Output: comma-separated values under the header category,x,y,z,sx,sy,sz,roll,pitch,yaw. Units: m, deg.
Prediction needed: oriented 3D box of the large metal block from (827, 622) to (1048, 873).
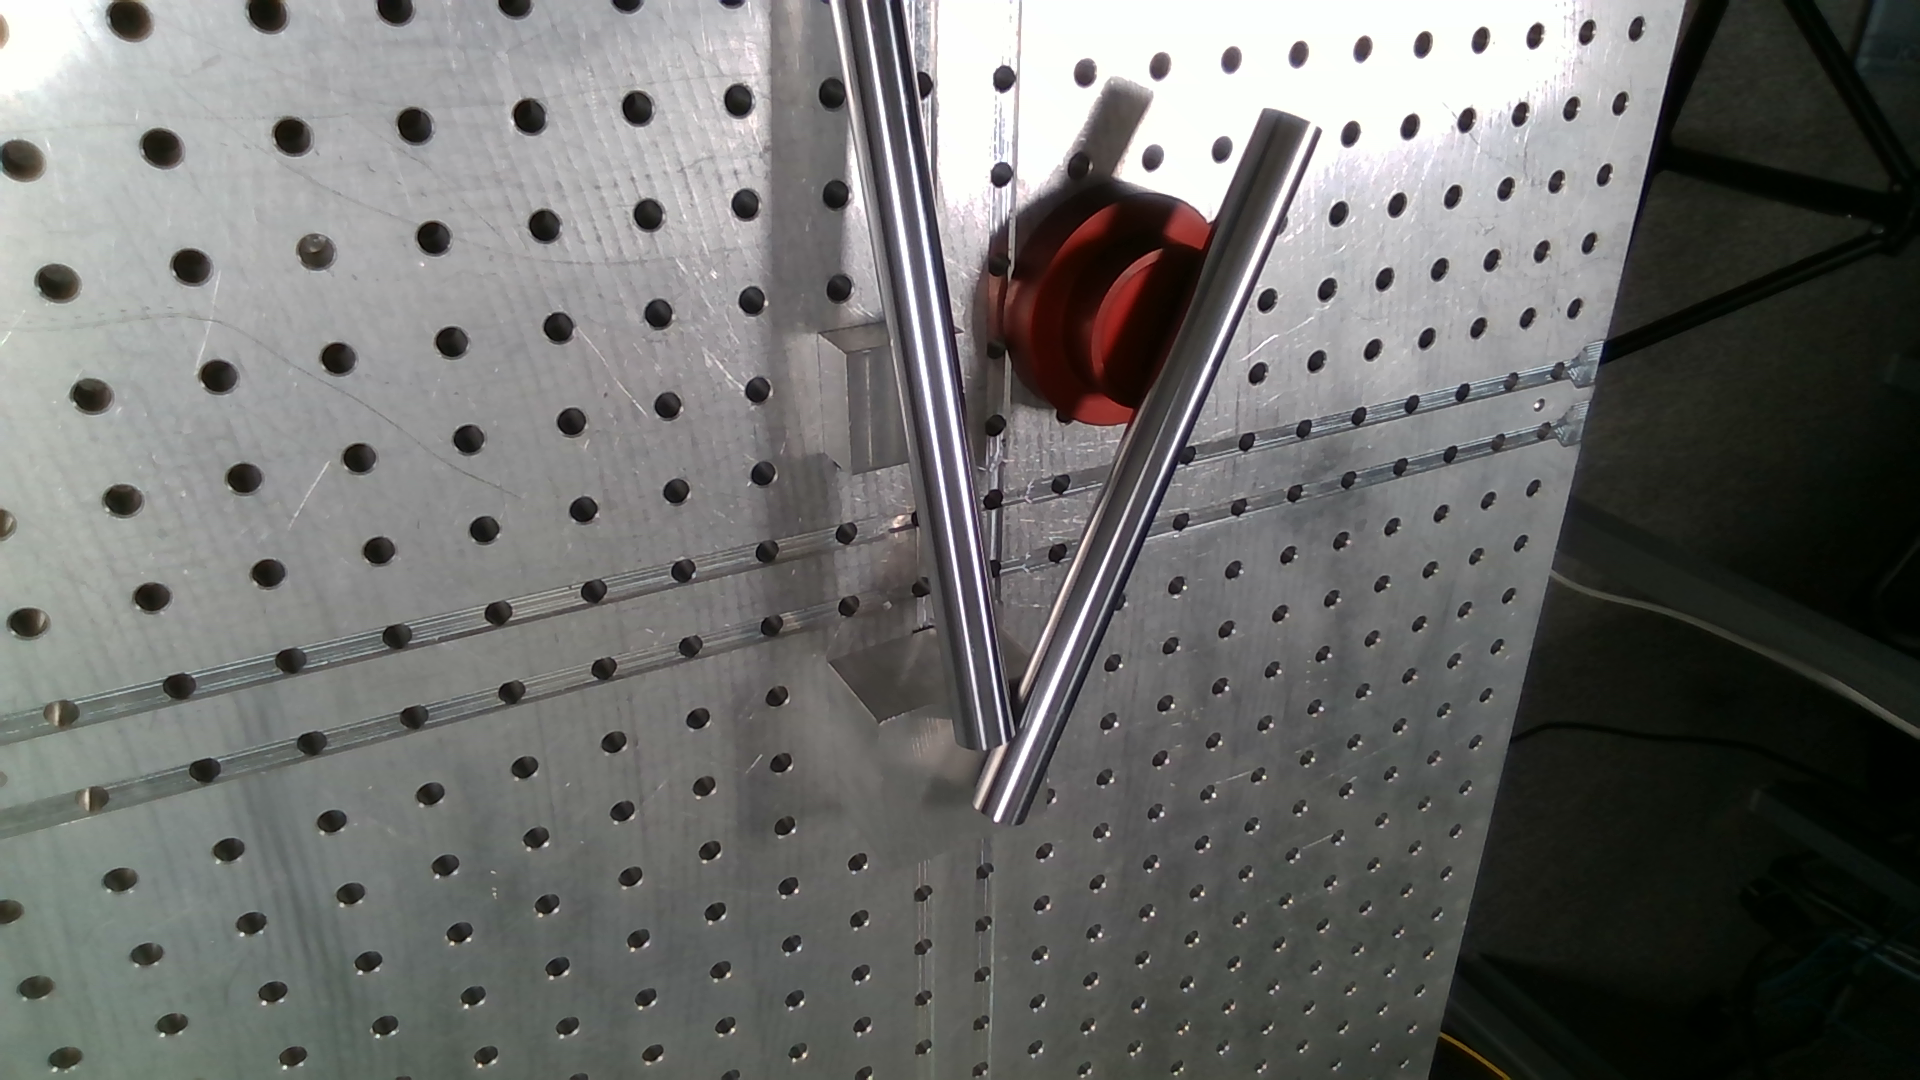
category,x,y,z,sx,sy,sz,roll,pitch,yaw
large metal block,-0.009,0.087,0.606,0.080,0.050,0.080,-16,122,-24

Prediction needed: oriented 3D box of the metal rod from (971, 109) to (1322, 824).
category,x,y,z,sx,sy,sz,roll,pitch,yaw
metal rod,0.071,-0.022,0.553,0.025,0.025,0.300,13,105,-36

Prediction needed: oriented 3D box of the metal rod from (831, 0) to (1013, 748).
category,x,y,z,sx,sy,sz,roll,pitch,yaw
metal rod,-0.012,-0.060,0.509,0.025,0.025,0.301,-18,113,-23

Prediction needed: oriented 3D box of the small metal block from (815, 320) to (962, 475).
category,x,y,z,sx,sy,sz,roll,pitch,yaw
small metal block,-0.027,-0.058,0.536,0.050,0.025,0.050,-15,122,-25

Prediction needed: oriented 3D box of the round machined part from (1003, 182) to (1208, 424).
category,x,y,z,sx,sy,sz,roll,pitch,yaw
round machined part,0.070,-0.093,0.565,0.098,0.042,0.098,-14,122,-25
